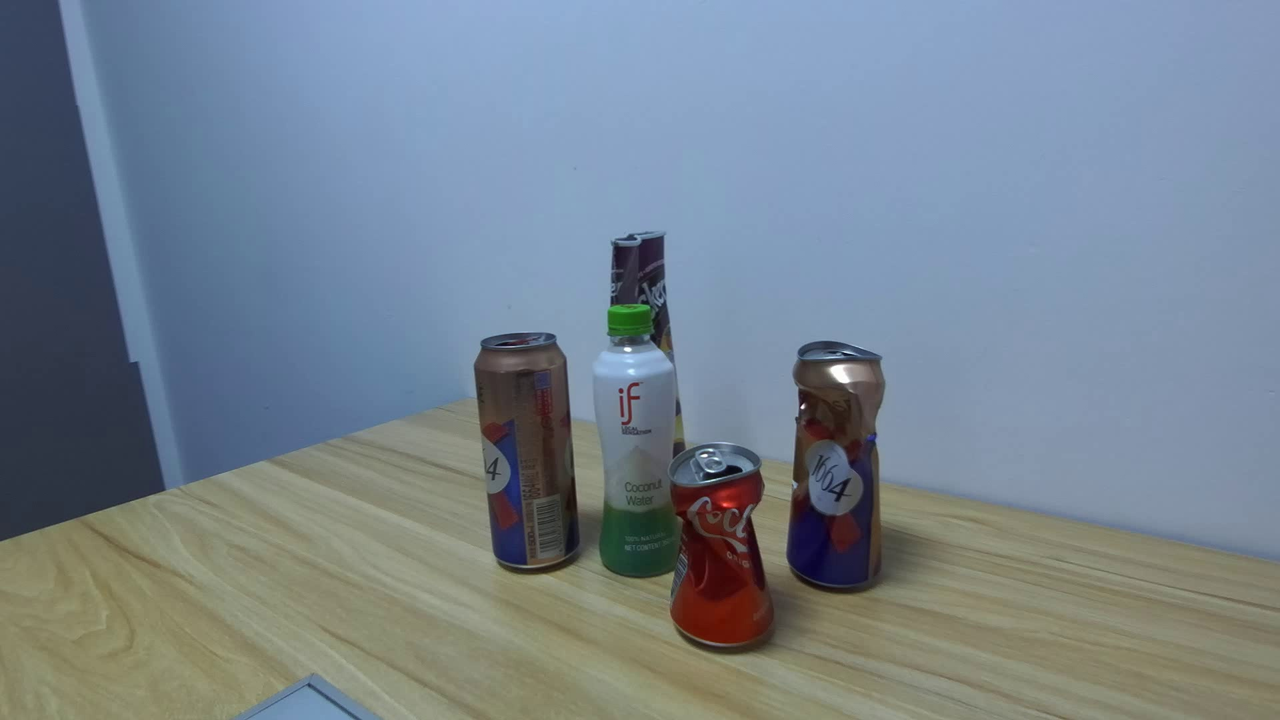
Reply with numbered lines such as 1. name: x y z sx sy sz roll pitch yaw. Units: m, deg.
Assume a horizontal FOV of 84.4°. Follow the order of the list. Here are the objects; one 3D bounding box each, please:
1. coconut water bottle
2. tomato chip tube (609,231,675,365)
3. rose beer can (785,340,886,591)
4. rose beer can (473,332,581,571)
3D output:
1. coconut water bottle: -0.002 0.057 0.508 0.063 0.188 0.063 -3 12 1
2. tomato chip tube: 0.003 0.013 0.601 0.090 0.235 0.077 -7 12 -28
3. rose beer can: 0.133 0.071 0.482 0.073 0.162 0.068 10 18 40
4. rose beer can: -0.083 0.069 0.527 0.068 0.169 0.068 -3 12 1
